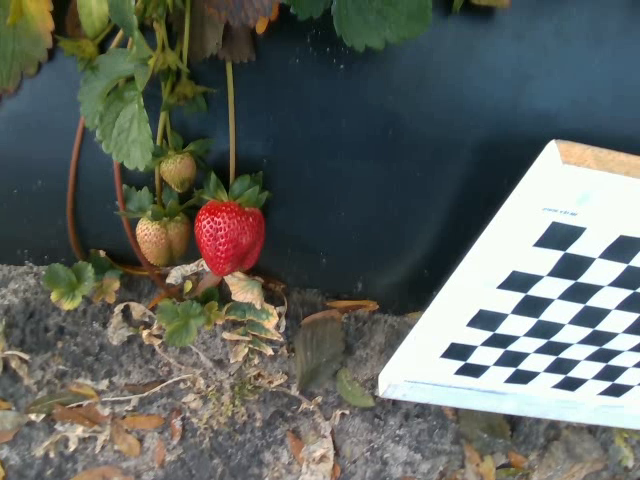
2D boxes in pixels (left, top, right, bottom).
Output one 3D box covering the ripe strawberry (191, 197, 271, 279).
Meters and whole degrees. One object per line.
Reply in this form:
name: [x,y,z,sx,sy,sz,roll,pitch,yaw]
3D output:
ripe strawberry: [-0.066,0.003,0.419,0.067,0.052,0.074,-3,-42,1]
